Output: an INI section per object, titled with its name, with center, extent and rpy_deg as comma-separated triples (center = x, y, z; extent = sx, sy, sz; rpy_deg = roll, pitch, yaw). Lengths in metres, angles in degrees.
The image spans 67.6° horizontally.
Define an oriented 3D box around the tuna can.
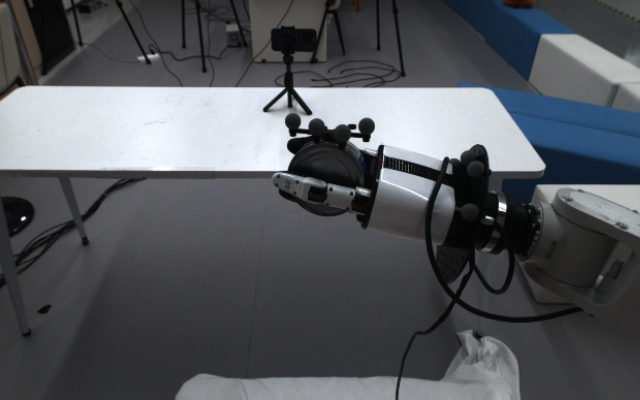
[tuna can]
center = 0.010, -0.028, 0.539
extent = 0.085, 0.085, 0.034
rpy_deg = 9, 23, 10
